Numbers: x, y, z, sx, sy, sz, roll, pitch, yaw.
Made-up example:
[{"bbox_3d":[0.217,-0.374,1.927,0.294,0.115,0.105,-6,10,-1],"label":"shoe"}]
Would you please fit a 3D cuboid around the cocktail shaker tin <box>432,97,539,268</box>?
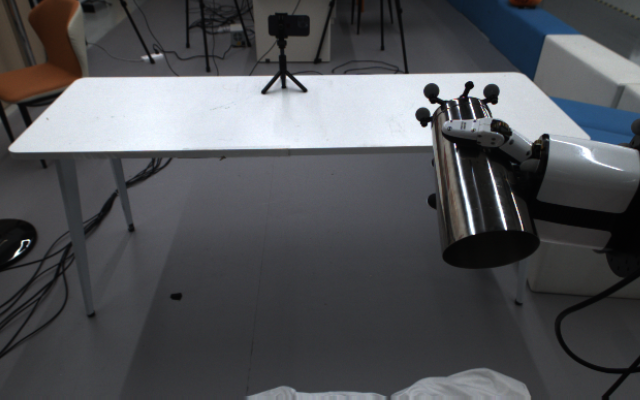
[{"bbox_3d":[0.163,-0.024,0.510,0.093,0.093,0.170,0,59,-3],"label":"cocktail shaker tin"}]
